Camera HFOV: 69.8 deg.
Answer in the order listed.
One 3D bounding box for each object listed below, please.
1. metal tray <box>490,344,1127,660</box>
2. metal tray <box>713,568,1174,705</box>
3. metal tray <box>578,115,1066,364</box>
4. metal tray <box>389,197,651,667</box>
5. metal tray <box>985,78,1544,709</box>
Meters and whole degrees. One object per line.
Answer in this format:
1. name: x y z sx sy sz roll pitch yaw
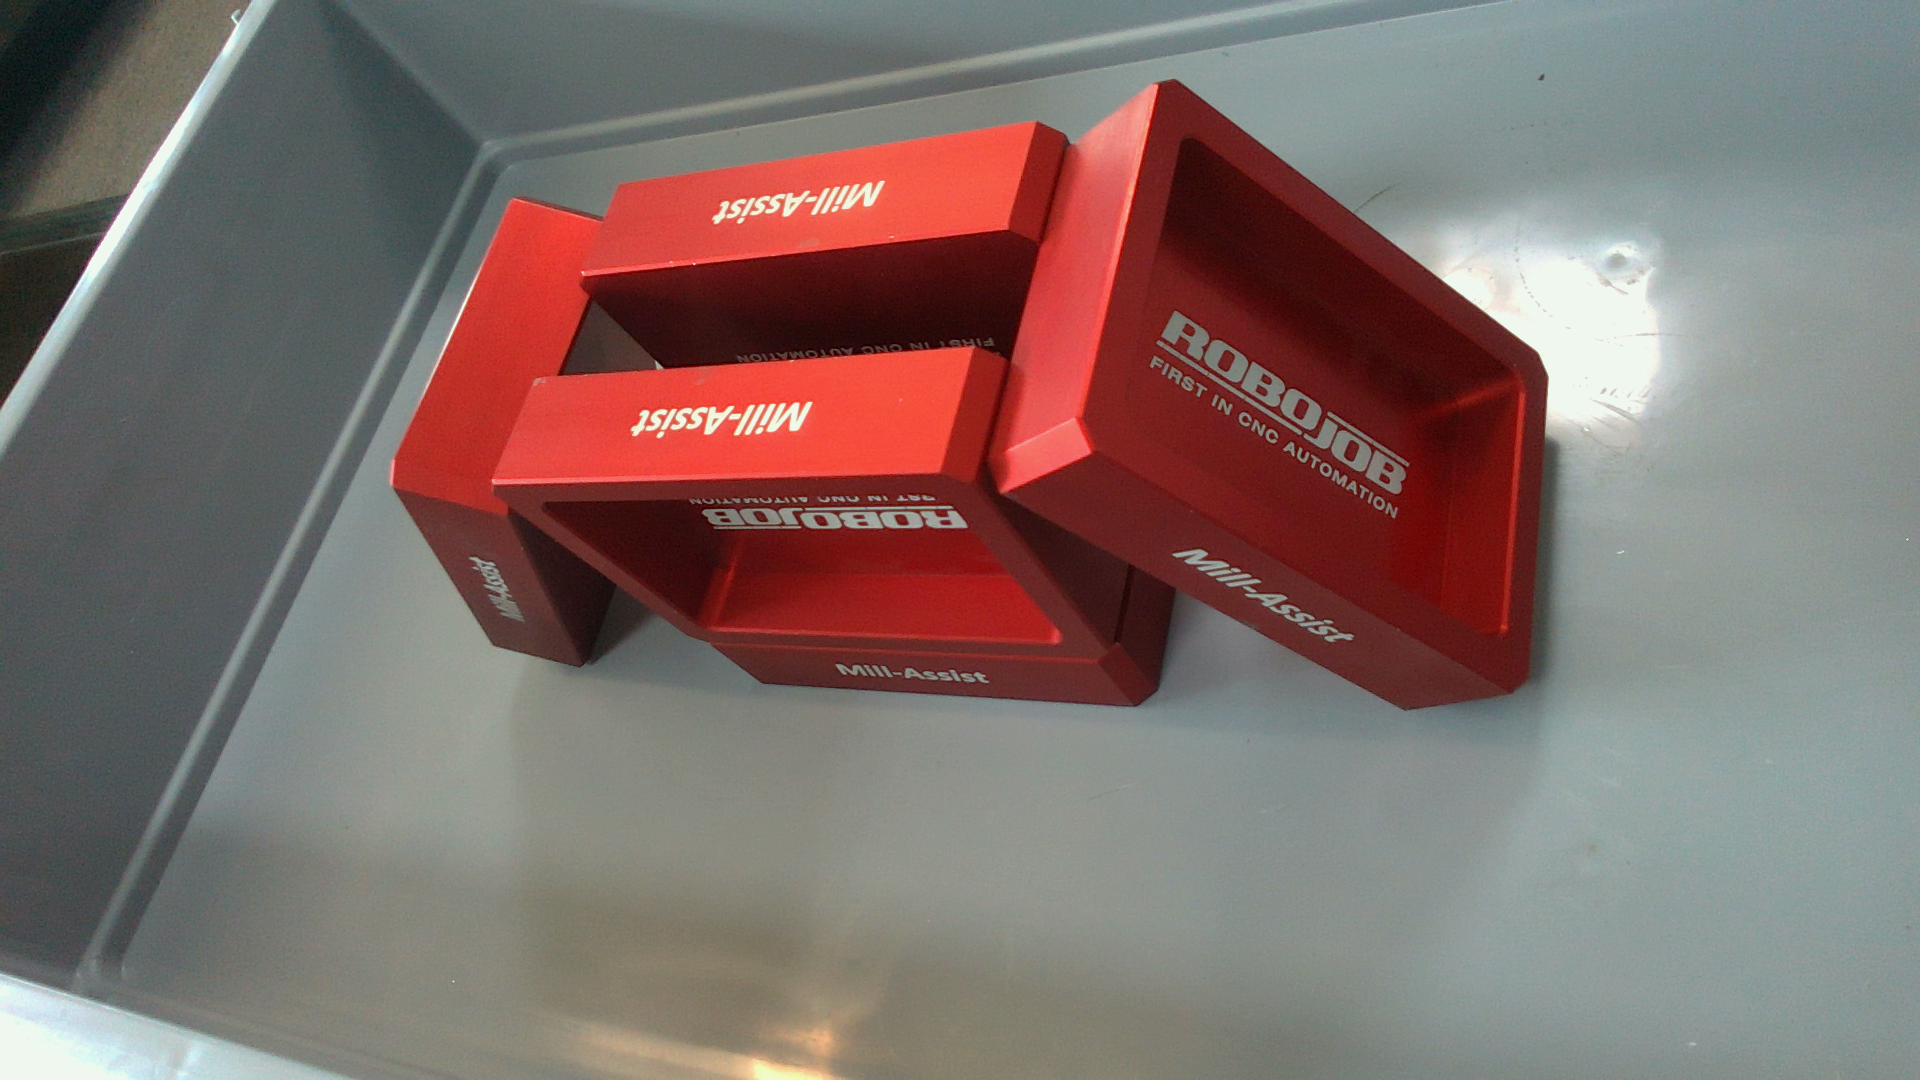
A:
1. metal tray: -0.035 -0.005 0.333 0.130 0.090 0.030 0 61 28
2. metal tray: -0.003 -0.003 0.393 0.130 0.030 0.090 0 61 28
3. metal tray: -0.021 -0.059 0.358 0.130 0.090 0.030 0 61 28
4. metal tray: -0.120 -0.026 0.408 0.030 0.130 0.090 15 66 0
5. metal tray: 0.074 -0.028 0.303 0.030 0.130 0.090 -22 47 53
